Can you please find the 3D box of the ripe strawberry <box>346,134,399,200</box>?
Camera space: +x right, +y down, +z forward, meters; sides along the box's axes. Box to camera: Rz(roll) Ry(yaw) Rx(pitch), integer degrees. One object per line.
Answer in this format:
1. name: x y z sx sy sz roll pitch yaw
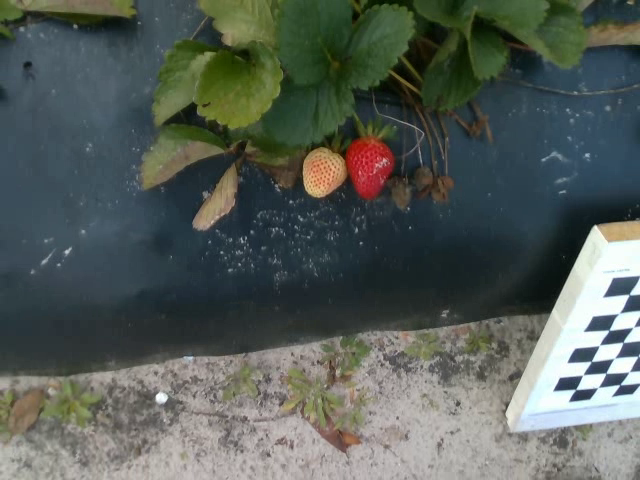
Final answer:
1. ripe strawberry: 0.030 -0.043 0.361 0.034 0.042 0.033 21 -23 -26
